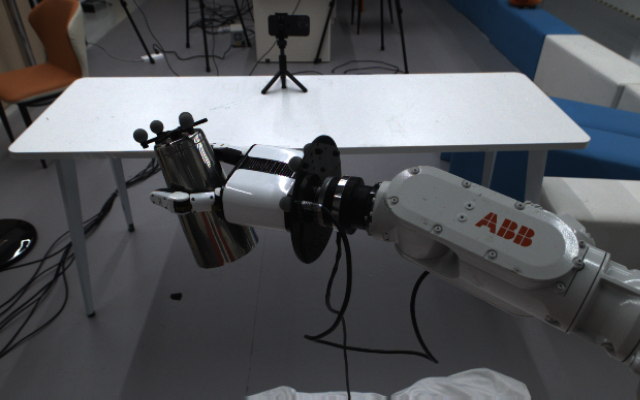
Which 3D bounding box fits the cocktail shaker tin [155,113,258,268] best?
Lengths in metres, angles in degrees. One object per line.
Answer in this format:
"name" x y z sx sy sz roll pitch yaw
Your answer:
"cocktail shaker tin" -0.156 -0.004 0.648 0.093 0.170 0.093 -17 20 7
